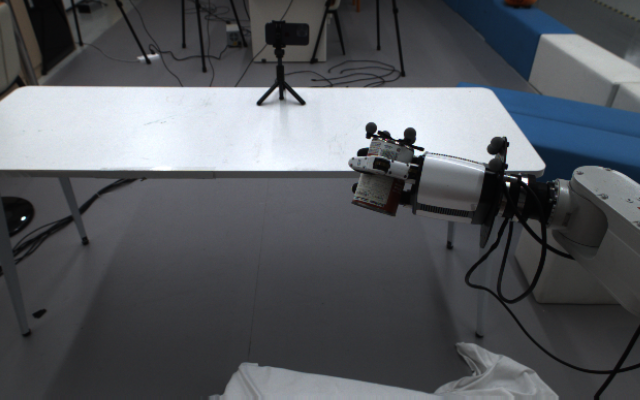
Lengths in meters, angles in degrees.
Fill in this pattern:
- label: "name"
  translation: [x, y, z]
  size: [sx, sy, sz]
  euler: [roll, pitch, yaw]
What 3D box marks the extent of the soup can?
- label: "soup can"
  translation: [0.094, -0.033, 0.715]
  size: [0.067, 0.101, 0.067]
  euler: [17, -1, 0]
